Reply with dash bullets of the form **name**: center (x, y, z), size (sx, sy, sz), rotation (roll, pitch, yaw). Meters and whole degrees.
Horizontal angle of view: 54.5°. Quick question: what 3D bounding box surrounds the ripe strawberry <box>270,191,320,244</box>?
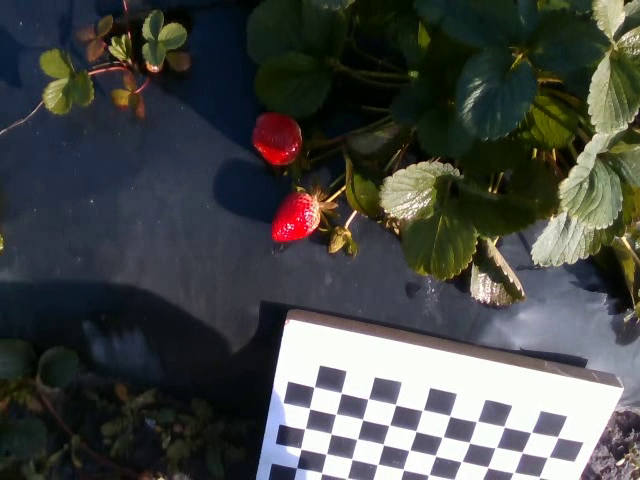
- **ripe strawberry**: center (-0.023, -0.017, 0.513), size (0.053, 0.043, 0.038), rotation (-43, 18, -24)

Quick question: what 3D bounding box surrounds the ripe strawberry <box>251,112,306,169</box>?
- **ripe strawberry**: center (-0.036, -0.085, 0.524), size (0.054, 0.048, 0.039), rotation (19, 23, -30)
